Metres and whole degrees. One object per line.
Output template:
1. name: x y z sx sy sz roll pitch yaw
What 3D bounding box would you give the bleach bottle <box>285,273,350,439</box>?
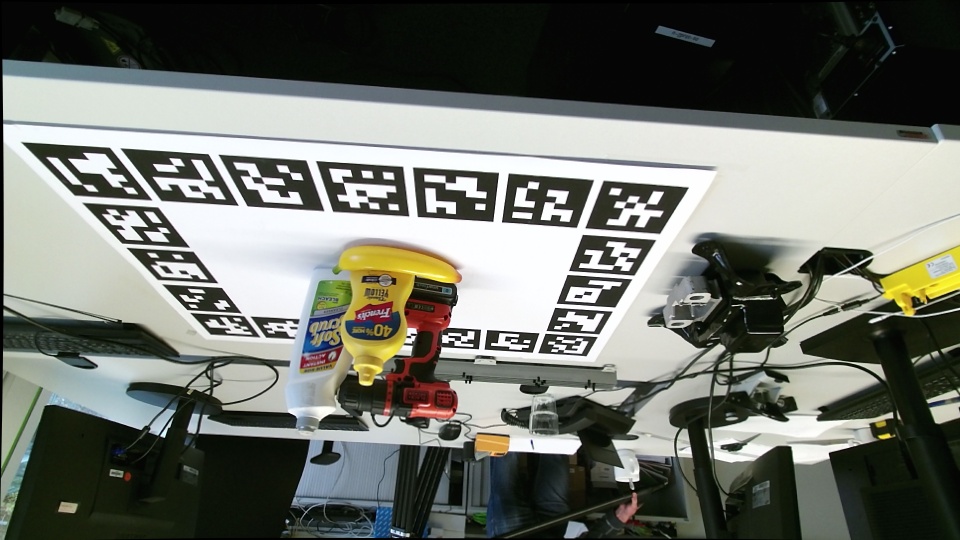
1. bleach bottle: -0.233 0.130 0.823 0.103 0.249 0.068 5 152 -4

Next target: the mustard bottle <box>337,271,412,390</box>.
1. mustard bottle: -0.159 0.083 0.789 0.096 0.190 0.058 4 147 -1

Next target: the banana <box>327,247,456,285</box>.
1. banana: -0.133 -0.003 0.811 0.198 0.038 0.074 4 146 -7

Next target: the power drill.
1. power drill: -0.123 0.141 0.839 0.185 0.186 0.057 11 147 -11
